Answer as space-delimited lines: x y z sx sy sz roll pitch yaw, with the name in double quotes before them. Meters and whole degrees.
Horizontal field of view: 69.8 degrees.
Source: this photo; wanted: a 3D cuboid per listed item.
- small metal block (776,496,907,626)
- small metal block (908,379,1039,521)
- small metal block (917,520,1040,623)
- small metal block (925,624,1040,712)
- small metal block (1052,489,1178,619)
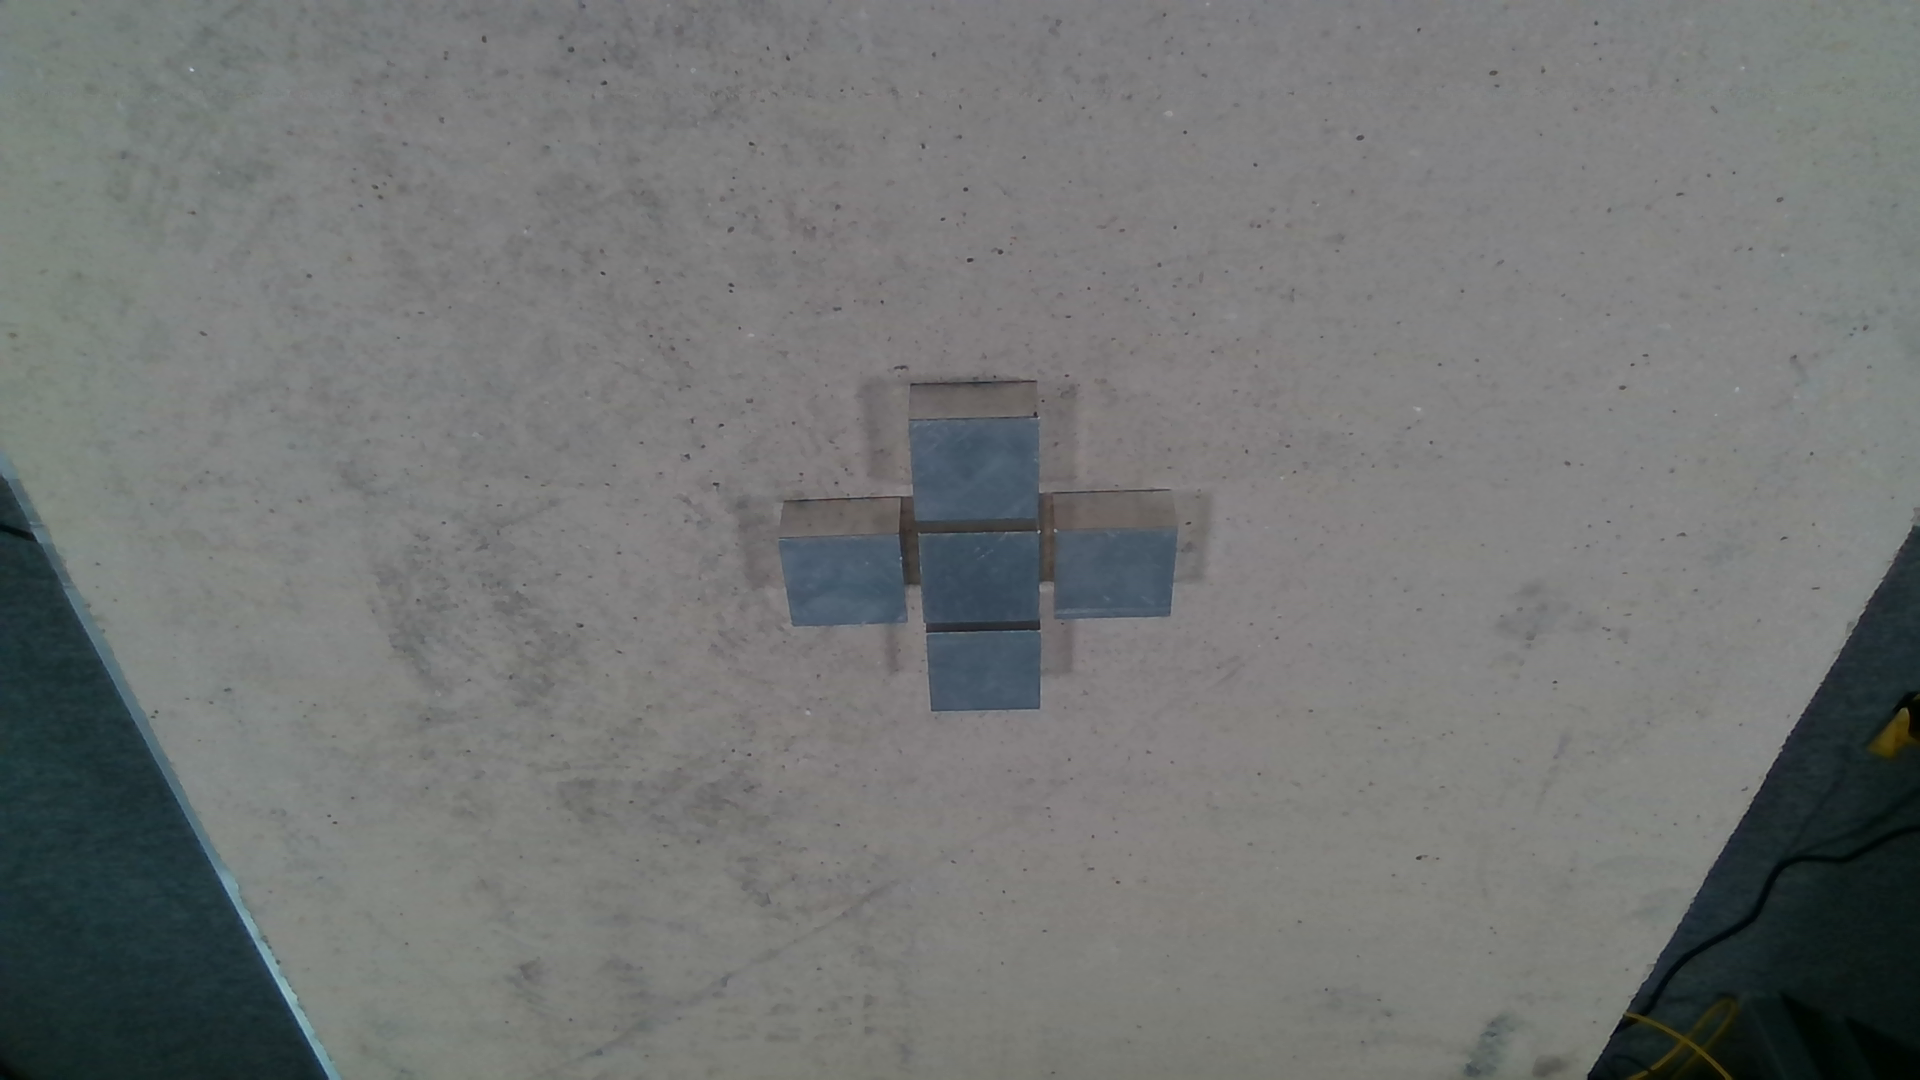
"small metal block" -0.049 0.009 0.587 0.050 0.025 0.050 -2 130 1
"small metal block" 0.006 -0.036 0.550 0.050 0.025 0.050 -1 130 1
"small metal block" 0.008 0.008 0.586 0.050 0.025 0.050 -1 130 1
"small metal block" 0.011 0.051 0.622 0.050 0.025 0.050 -1 130 1
"small metal block" 0.064 0.006 0.585 0.050 0.025 0.050 -1 130 1
